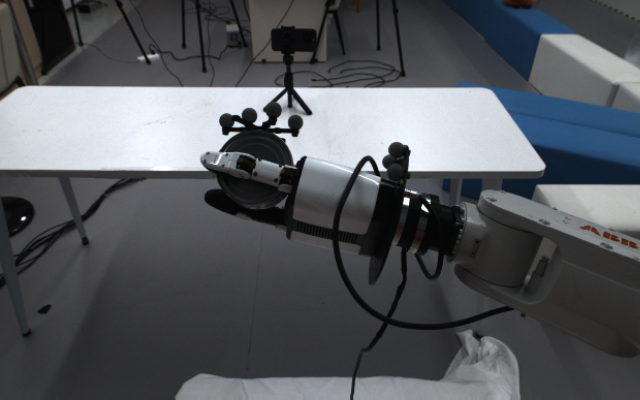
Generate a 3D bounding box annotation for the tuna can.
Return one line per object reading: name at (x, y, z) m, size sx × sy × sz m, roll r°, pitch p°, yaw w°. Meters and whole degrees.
tuna can at (-0.070, -0.034, 0.543) m, size 0.085 × 0.034 × 0.085 m, roll -1°, pitch 76°, yaw 4°
